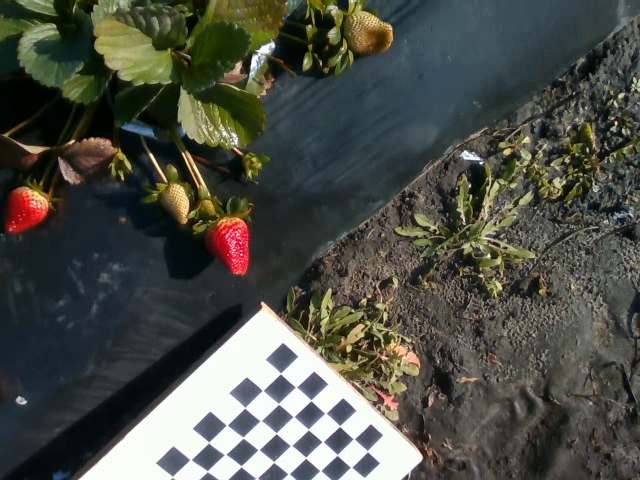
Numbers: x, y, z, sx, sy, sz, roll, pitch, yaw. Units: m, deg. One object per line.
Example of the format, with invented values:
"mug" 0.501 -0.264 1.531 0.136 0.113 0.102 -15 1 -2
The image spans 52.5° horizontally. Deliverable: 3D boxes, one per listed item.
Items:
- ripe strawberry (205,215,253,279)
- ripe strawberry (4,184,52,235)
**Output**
"ripe strawberry" -0.072 0.009 0.516 0.042 0.058 0.042 -24 12 -11
"ripe strawberry" -0.233 -0.022 0.489 0.034 0.046 0.036 46 -7 -23
